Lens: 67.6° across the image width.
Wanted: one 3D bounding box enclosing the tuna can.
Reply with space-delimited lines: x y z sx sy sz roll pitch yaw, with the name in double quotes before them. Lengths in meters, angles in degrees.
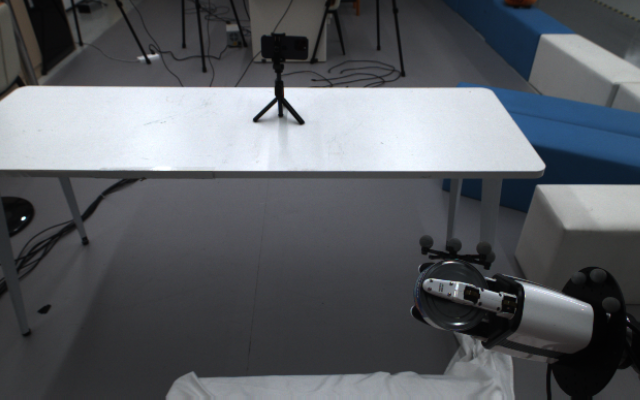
"tuna can" 0.162 0.112 0.592 0.085 0.034 0.085 1 74 -4
